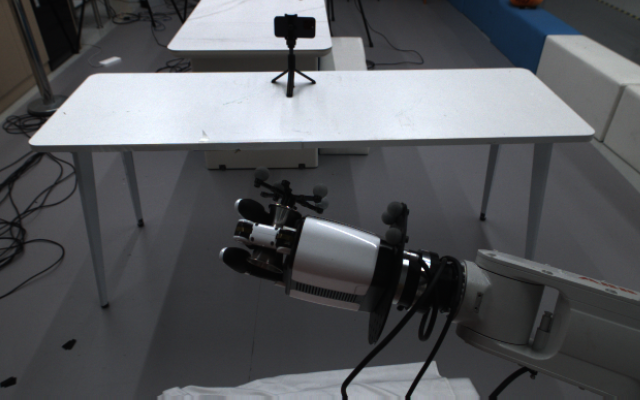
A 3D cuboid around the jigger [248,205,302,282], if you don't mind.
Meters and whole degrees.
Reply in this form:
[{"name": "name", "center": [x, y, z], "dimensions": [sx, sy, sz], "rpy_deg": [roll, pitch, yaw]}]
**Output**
[{"name": "jigger", "center": [-0.047, 0.043, 0.543], "dimensions": [0.043, 0.043, 0.071], "rpy_deg": [12, 71, 14]}]
